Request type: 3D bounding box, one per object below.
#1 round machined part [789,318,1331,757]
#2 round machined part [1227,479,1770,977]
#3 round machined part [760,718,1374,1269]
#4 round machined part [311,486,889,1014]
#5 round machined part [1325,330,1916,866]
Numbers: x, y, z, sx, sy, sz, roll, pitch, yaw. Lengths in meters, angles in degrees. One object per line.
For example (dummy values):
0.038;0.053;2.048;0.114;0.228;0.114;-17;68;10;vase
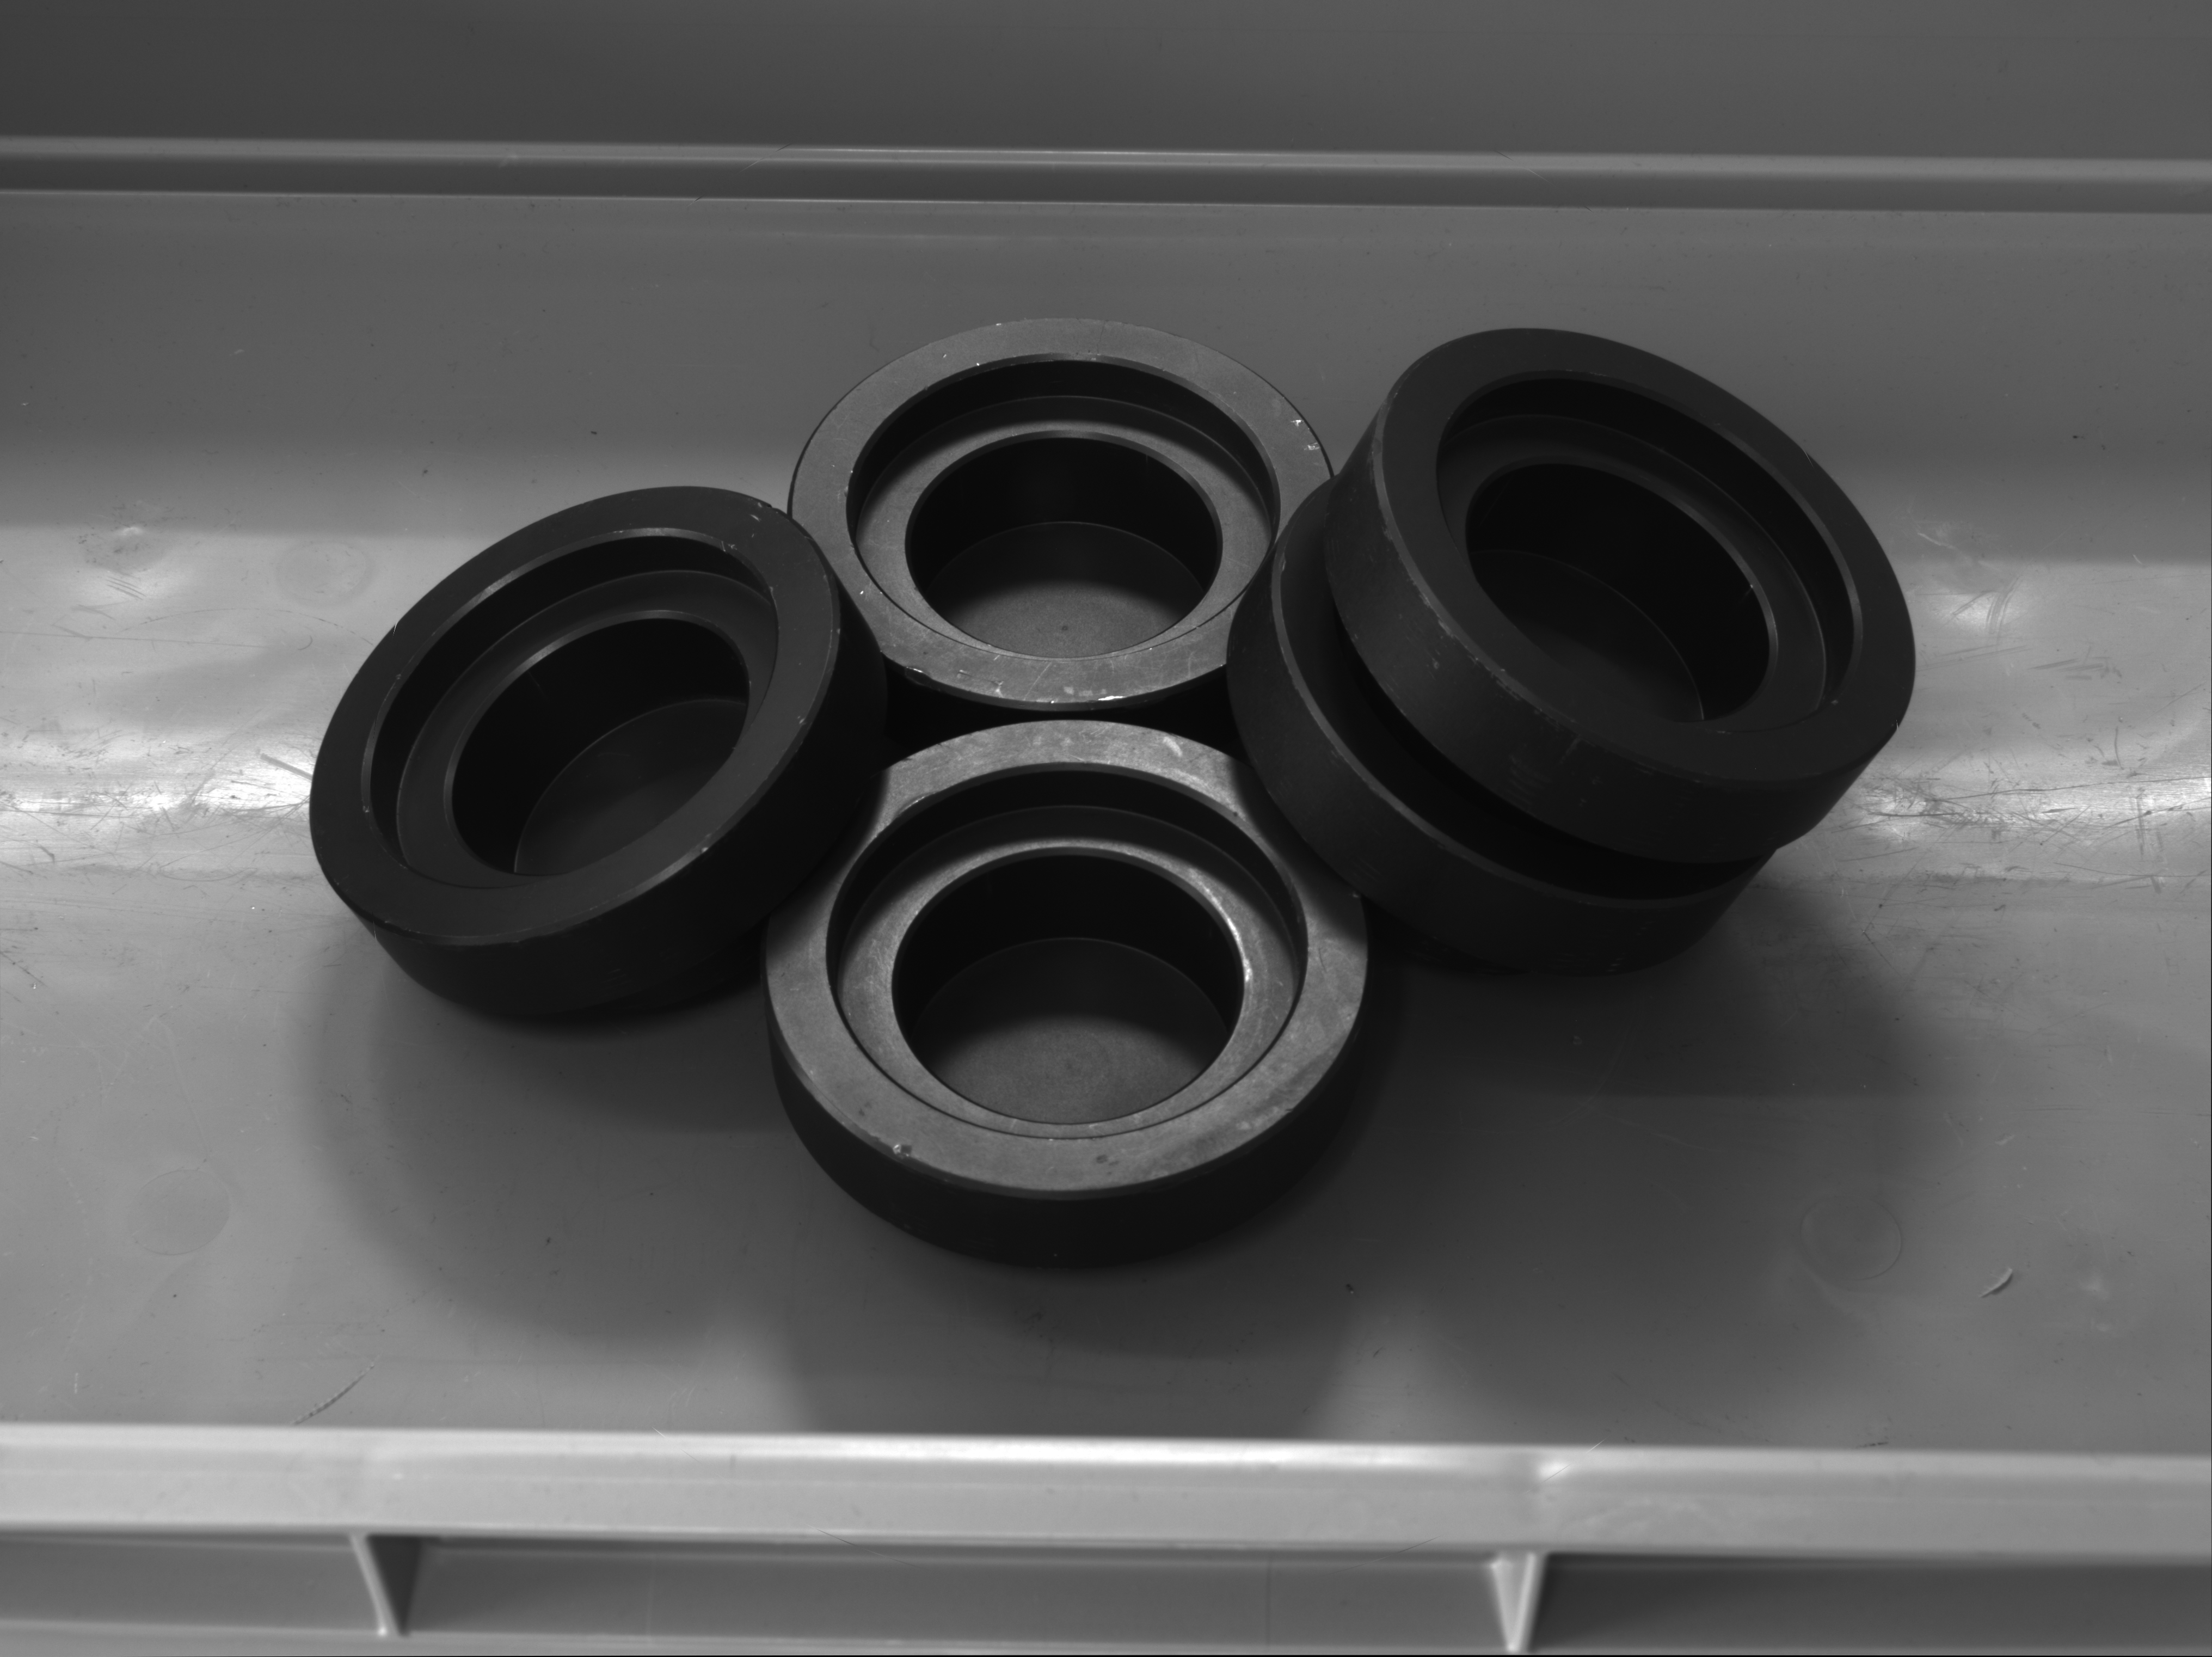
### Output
-0.007;-0.045;0.666;0.098;0.042;0.098;0;50;0;round machined part
0.065;-0.014;0.627;0.098;0.042;0.098;15;47;-16;round machined part
-0.006;0.032;0.602;0.098;0.042;0.098;0;50;0;round machined part
-0.081;-0.008;0.623;0.098;0.042;0.098;-14;47;16;round machined part
0.080;-0.033;0.606;0.098;0.042;0.098;15;48;-16;round machined part
